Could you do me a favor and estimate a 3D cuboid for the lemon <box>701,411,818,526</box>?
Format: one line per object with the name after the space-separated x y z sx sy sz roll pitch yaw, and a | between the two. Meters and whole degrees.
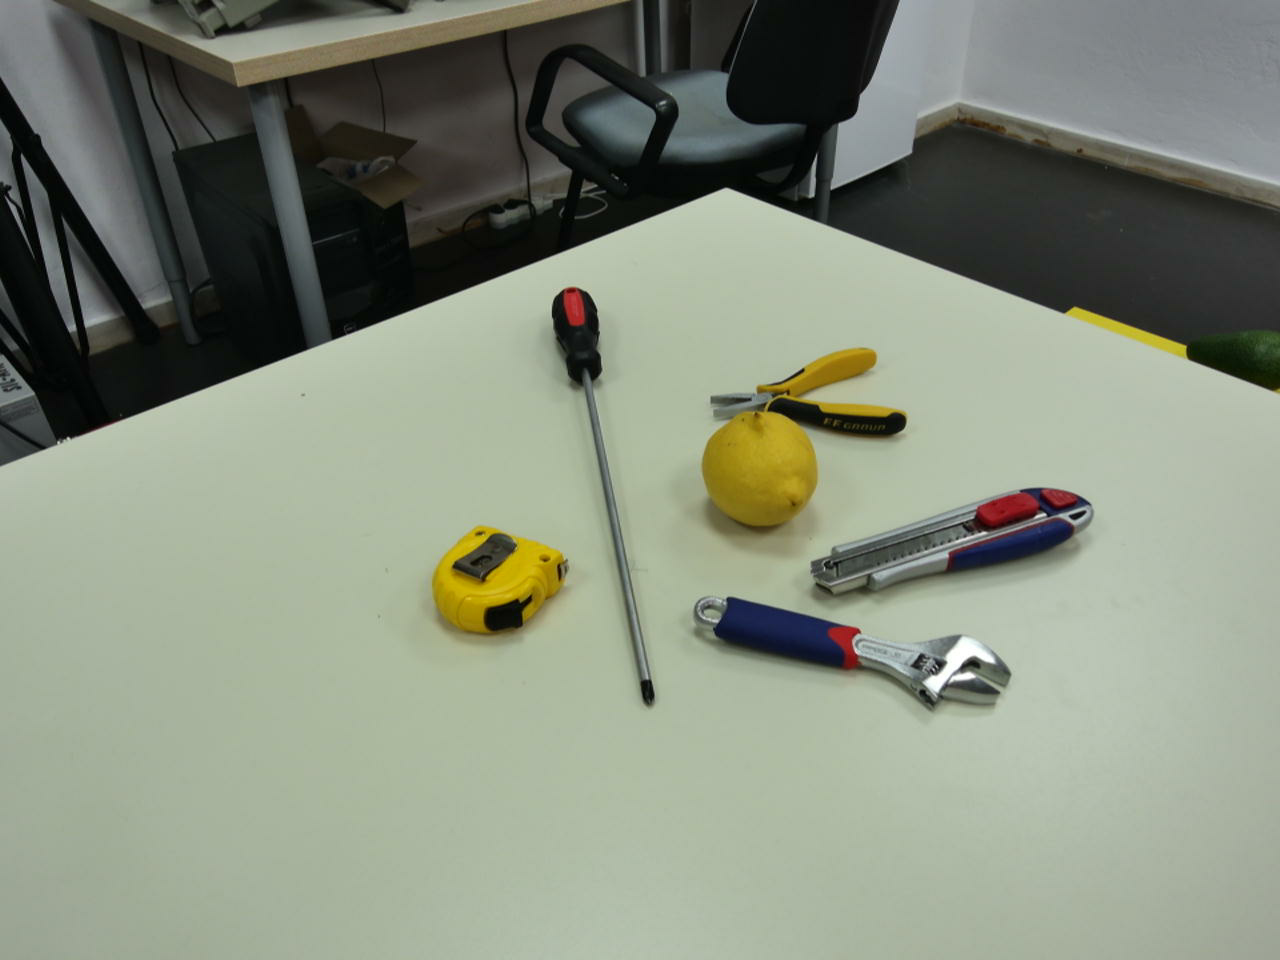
0.071 -0.010 0.598 0.070 0.071 0.071 9 38 12 | lemon
